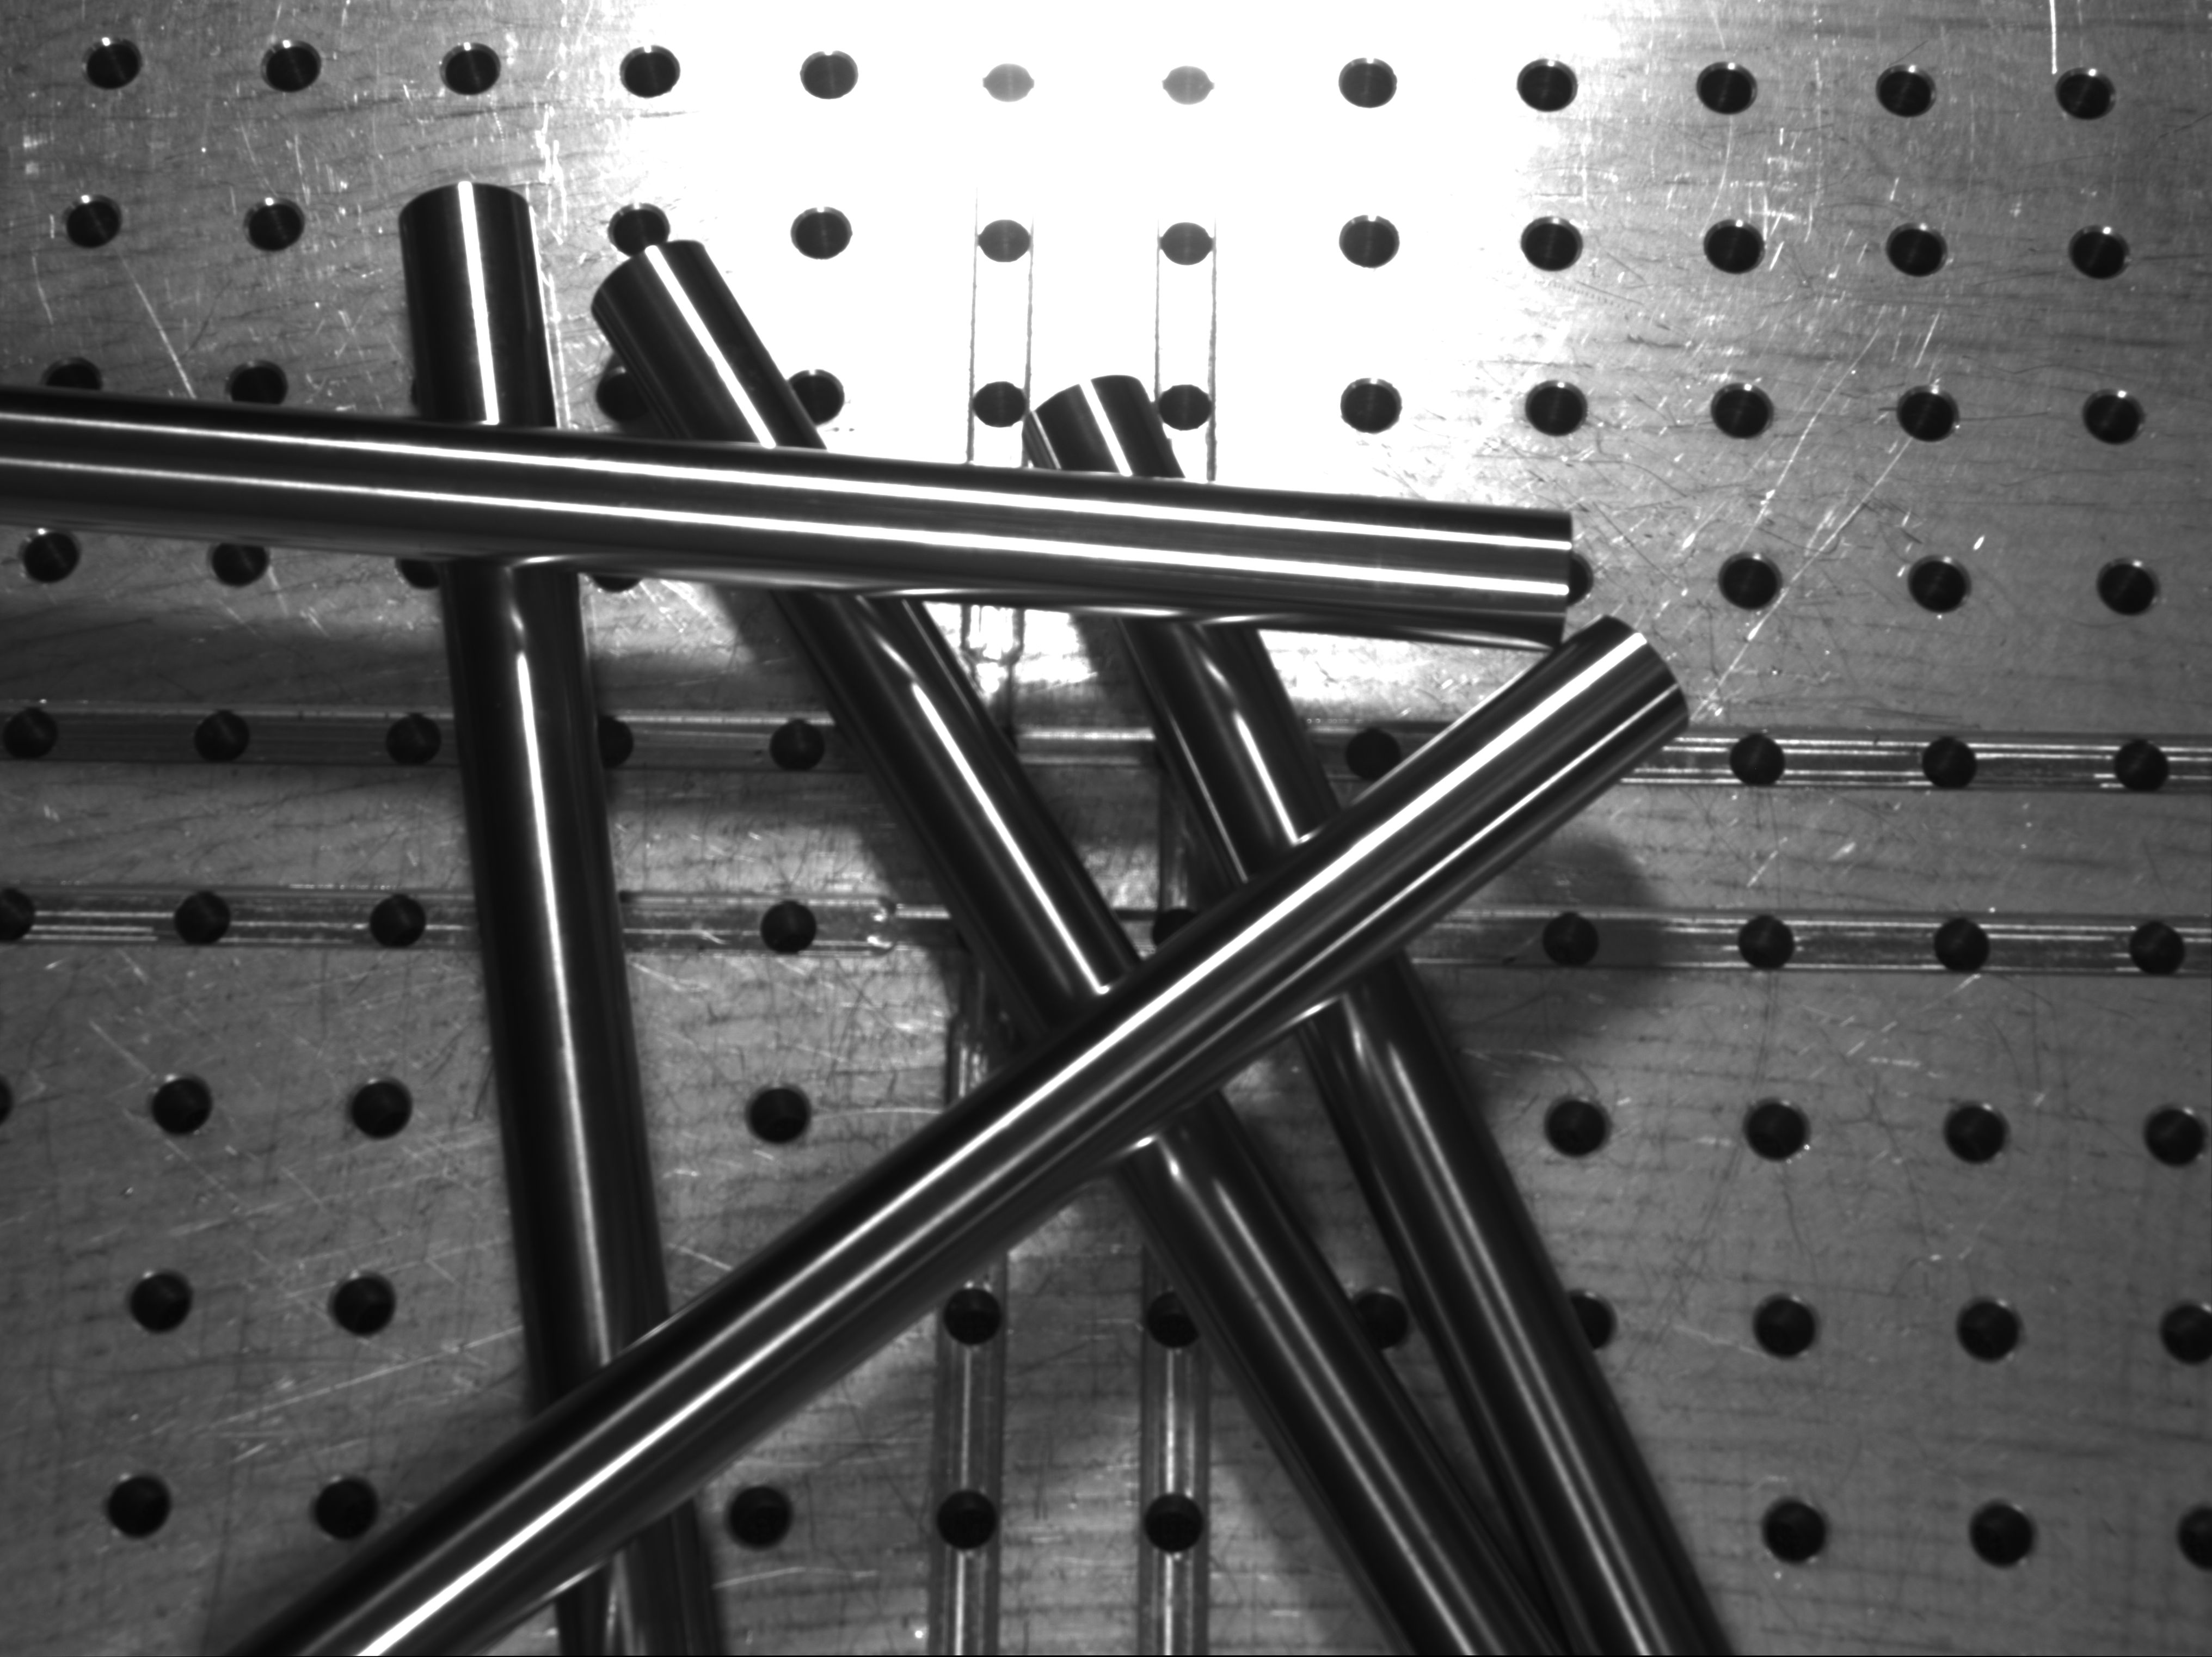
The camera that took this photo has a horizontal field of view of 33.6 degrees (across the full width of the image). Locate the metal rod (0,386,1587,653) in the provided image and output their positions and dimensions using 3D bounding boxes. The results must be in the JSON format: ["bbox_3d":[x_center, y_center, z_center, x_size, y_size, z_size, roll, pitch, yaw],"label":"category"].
[{"bbox_3d":[-0.067,-0.055,0.641,0.300,0.025,0.025,5,70,2],"label":"metal rod"}]

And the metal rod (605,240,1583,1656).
[{"bbox_3d":[-0.007,0.020,0.639,0.025,0.025,0.300,-28,72,-10],"label":"metal rod"}]

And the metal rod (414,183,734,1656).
[{"bbox_3d":[-0.093,0.024,0.638,0.025,0.025,0.300,-9,70,-3],"label":"metal rod"}]

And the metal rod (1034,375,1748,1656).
[{"bbox_3d":[0.055,0.053,0.627,0.025,0.025,0.300,-21,71,-7],"label":"metal rod"}]

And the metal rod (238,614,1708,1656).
[{"bbox_3d":[-0.023,0.061,0.598,0.300,0.025,0.025,-37,74,-12],"label":"metal rod"}]
